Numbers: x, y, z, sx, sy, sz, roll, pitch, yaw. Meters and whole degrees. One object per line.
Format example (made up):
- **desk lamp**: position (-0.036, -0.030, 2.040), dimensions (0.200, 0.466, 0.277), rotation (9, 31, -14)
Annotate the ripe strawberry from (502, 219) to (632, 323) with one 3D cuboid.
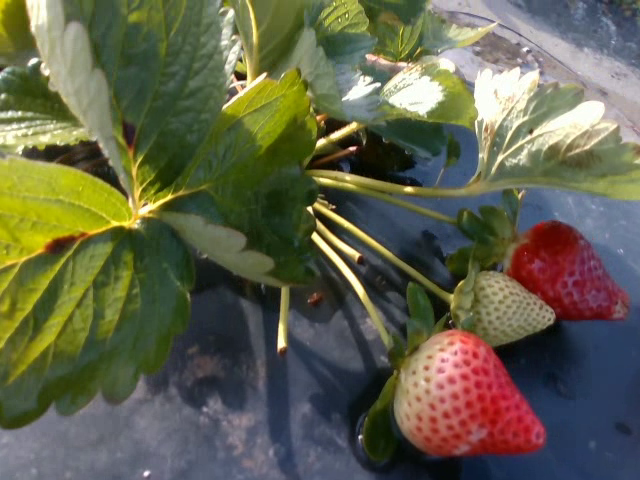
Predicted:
- **ripe strawberry**: position (0.110, 0.019, 0.271), dimensions (0.064, 0.049, 0.050), rotation (38, -5, 2)
